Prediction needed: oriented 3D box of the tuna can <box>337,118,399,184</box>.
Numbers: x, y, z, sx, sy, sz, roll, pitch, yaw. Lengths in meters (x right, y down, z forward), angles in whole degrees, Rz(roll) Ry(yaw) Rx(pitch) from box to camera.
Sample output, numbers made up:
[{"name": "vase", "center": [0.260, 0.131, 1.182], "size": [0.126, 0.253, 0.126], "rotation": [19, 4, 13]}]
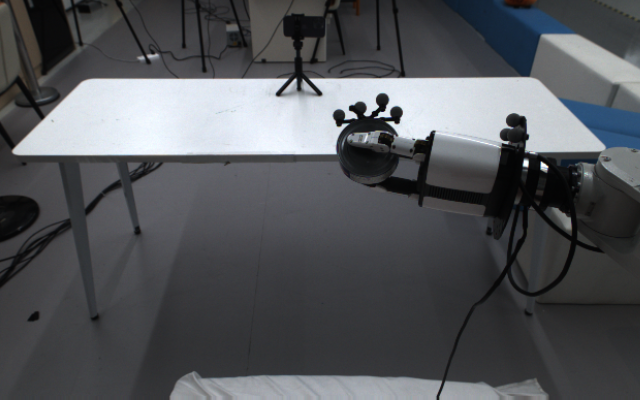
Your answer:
[{"name": "tuna can", "center": [0.066, -0.066, 0.657], "size": [0.085, 0.034, 0.085], "rotation": [-2, 69, 6]}]
